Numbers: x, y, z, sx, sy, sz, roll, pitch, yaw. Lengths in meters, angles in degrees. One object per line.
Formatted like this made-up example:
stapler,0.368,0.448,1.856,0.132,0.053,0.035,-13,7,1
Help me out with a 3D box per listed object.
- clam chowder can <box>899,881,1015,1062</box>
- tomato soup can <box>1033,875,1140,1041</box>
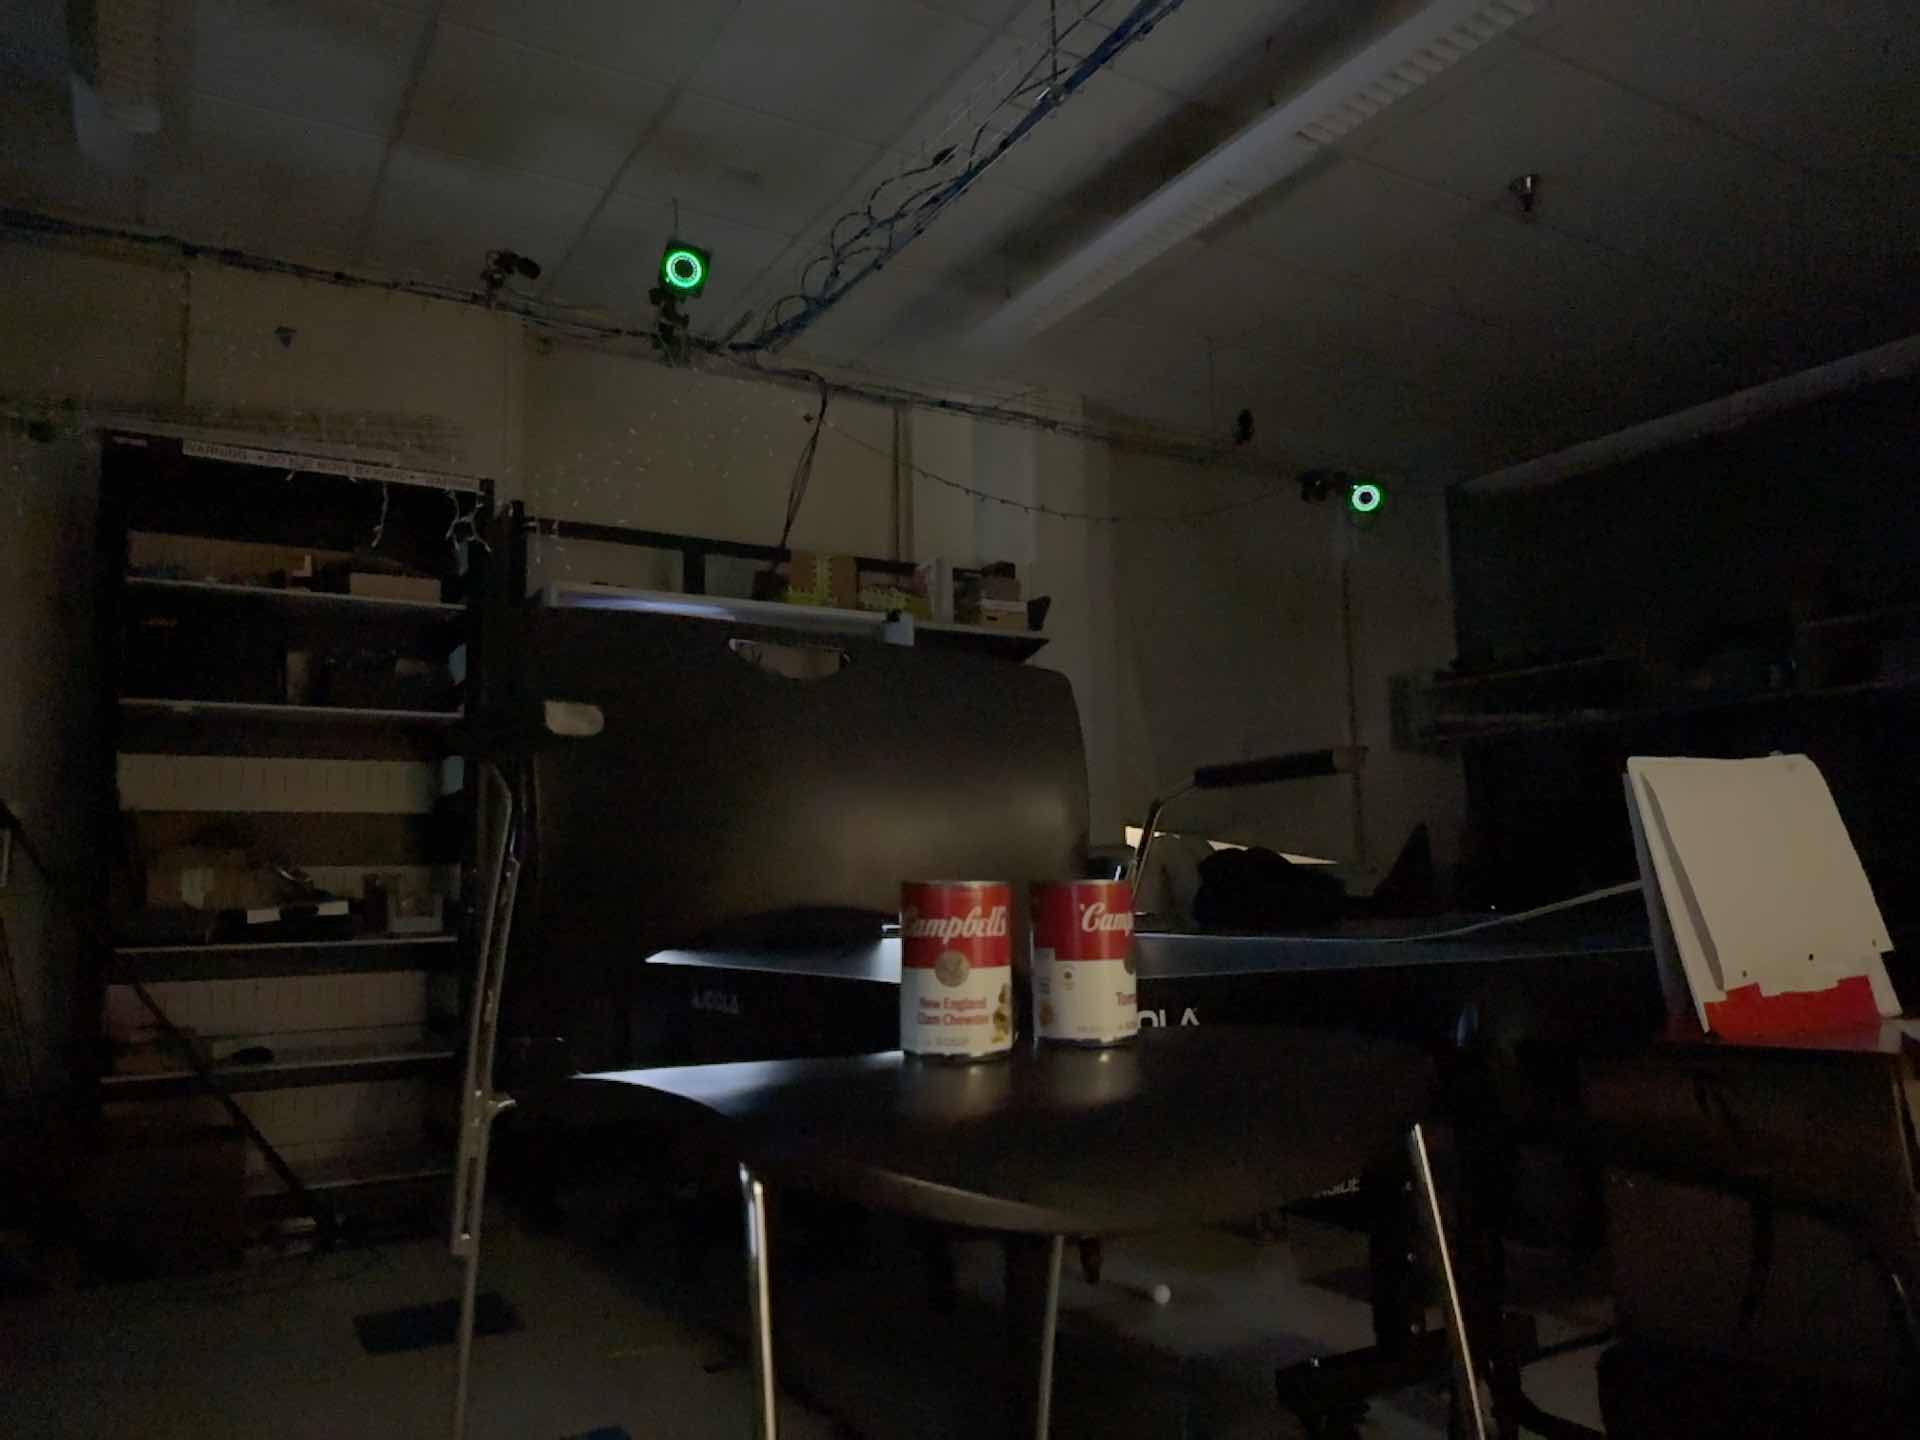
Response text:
clam chowder can,-0.003,0.147,0.799,0.068,0.102,0.068,1,-7,0
tomato soup can,0.080,0.150,0.858,0.067,0.102,0.067,1,-8,0
